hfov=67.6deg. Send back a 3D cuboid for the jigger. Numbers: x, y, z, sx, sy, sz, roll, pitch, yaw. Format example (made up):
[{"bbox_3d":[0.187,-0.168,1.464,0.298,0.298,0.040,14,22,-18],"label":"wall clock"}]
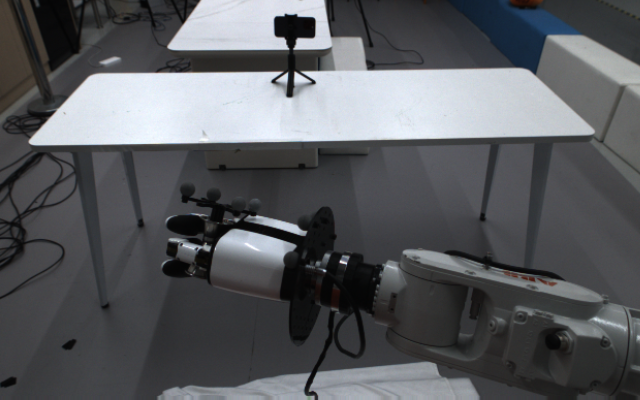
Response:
[{"bbox_3d":[-0.128,0.057,0.580,0.043,0.071,0.043,14,1,0],"label":"jigger"}]
